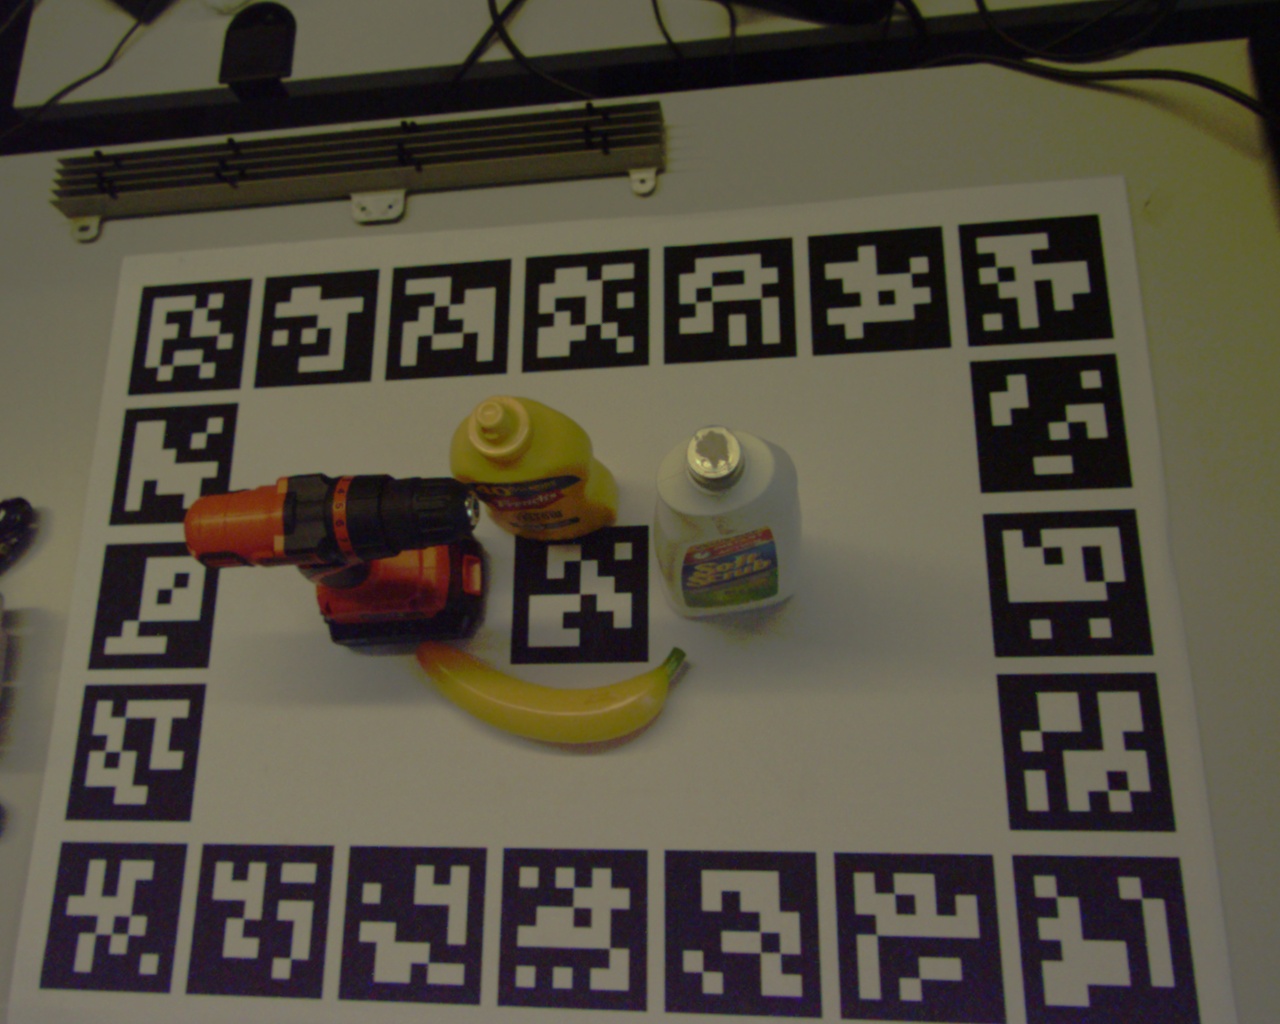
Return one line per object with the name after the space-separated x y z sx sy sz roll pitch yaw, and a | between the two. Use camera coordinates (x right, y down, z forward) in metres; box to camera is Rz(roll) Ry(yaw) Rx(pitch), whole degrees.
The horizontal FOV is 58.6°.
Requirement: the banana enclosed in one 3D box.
-0.070 0.125 0.834 0.198 0.038 0.074 1 79 12 | banana

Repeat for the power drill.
-0.187 0.024 0.786 0.185 0.186 0.057 -4 67 5 | power drill

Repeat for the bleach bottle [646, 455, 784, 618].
0.042 0.014 0.747 0.103 0.249 0.068 -10 75 6 | bleach bottle

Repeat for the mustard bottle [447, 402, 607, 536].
-0.083 -0.033 0.804 0.096 0.190 0.058 -1 74 7 | mustard bottle
